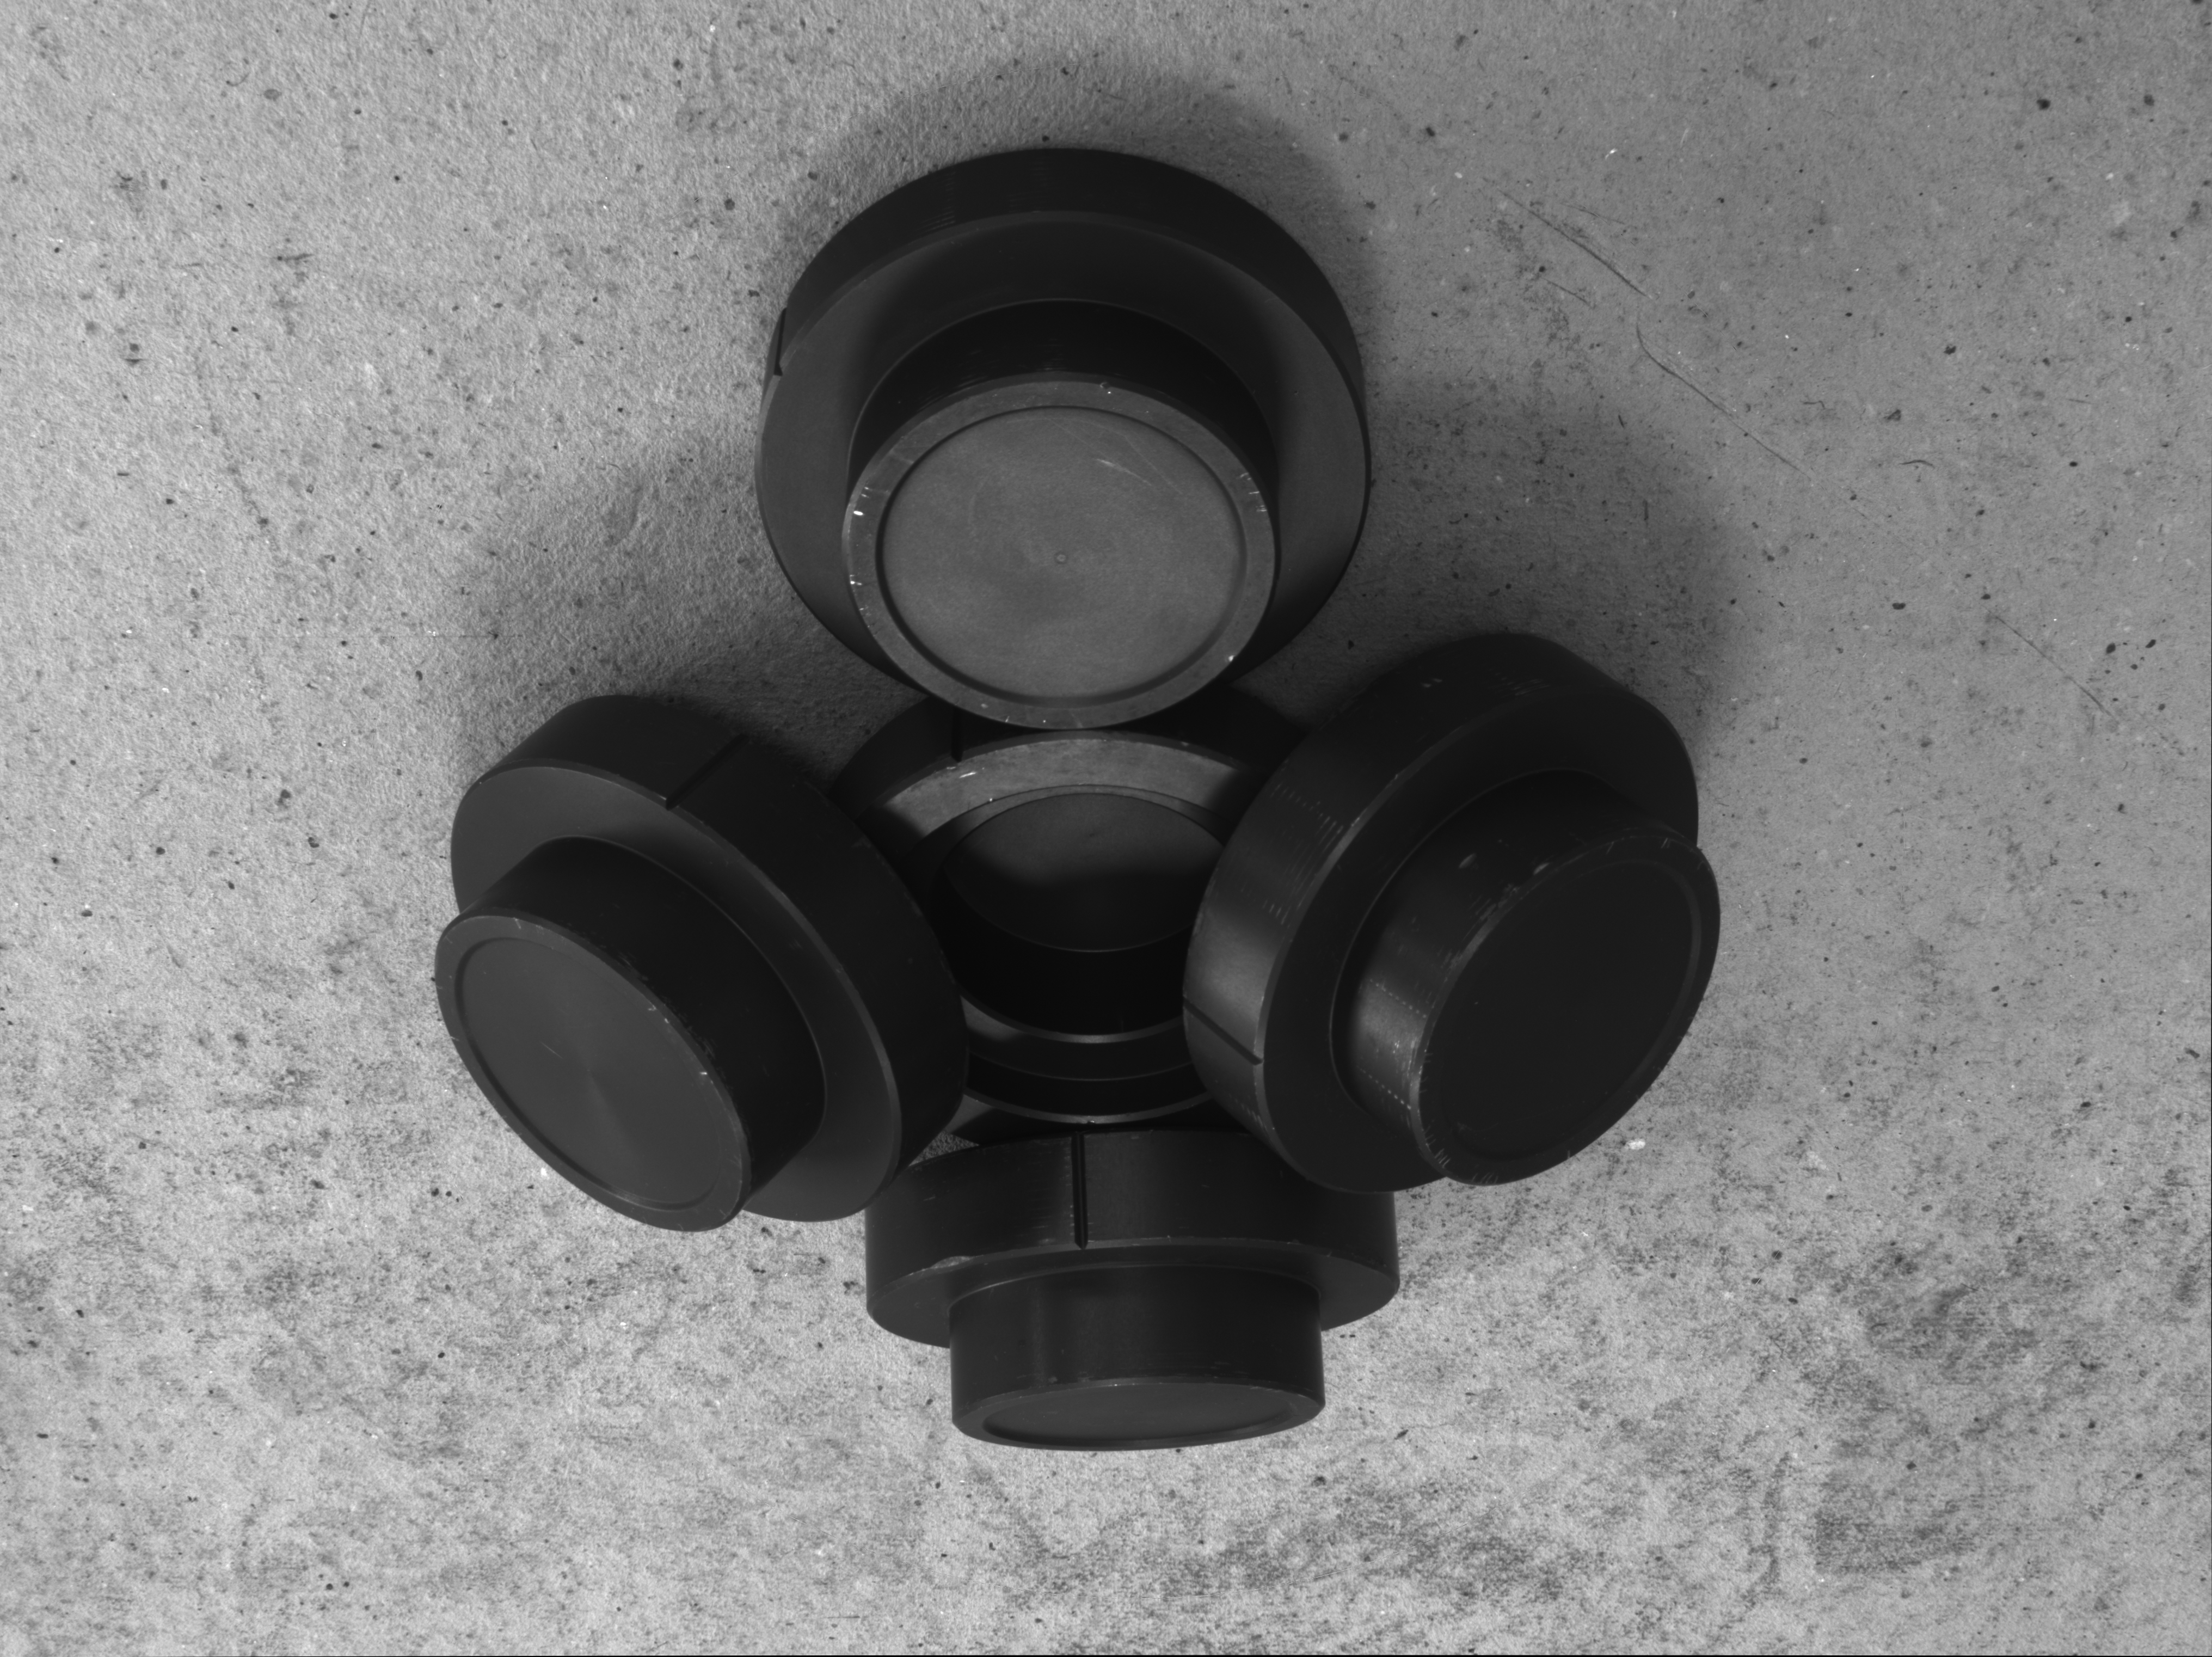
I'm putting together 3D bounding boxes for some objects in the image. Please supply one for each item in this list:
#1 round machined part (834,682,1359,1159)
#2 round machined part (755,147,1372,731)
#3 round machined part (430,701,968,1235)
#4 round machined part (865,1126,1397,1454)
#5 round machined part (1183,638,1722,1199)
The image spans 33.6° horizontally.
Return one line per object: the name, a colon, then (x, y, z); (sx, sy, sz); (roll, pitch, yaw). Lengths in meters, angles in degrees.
round machined part: (-0.002, 0.009, 0.636); (0.098, 0.042, 0.098); (1, 129, 2)
round machined part: (-0.007, -0.055, 0.582); (0.098, 0.042, 0.098); (0, 128, 0)
round machined part: (-0.075, 0.030, 0.622); (0.098, 0.042, 0.098); (25, 140, 23)
round machined part: (0.005, 0.088, 0.674); (0.098, 0.042, 0.098); (-2, 160, -1)
round machined part: (0.064, 0.021, 0.613); (0.098, 0.042, 0.098); (-23, 132, -28)
